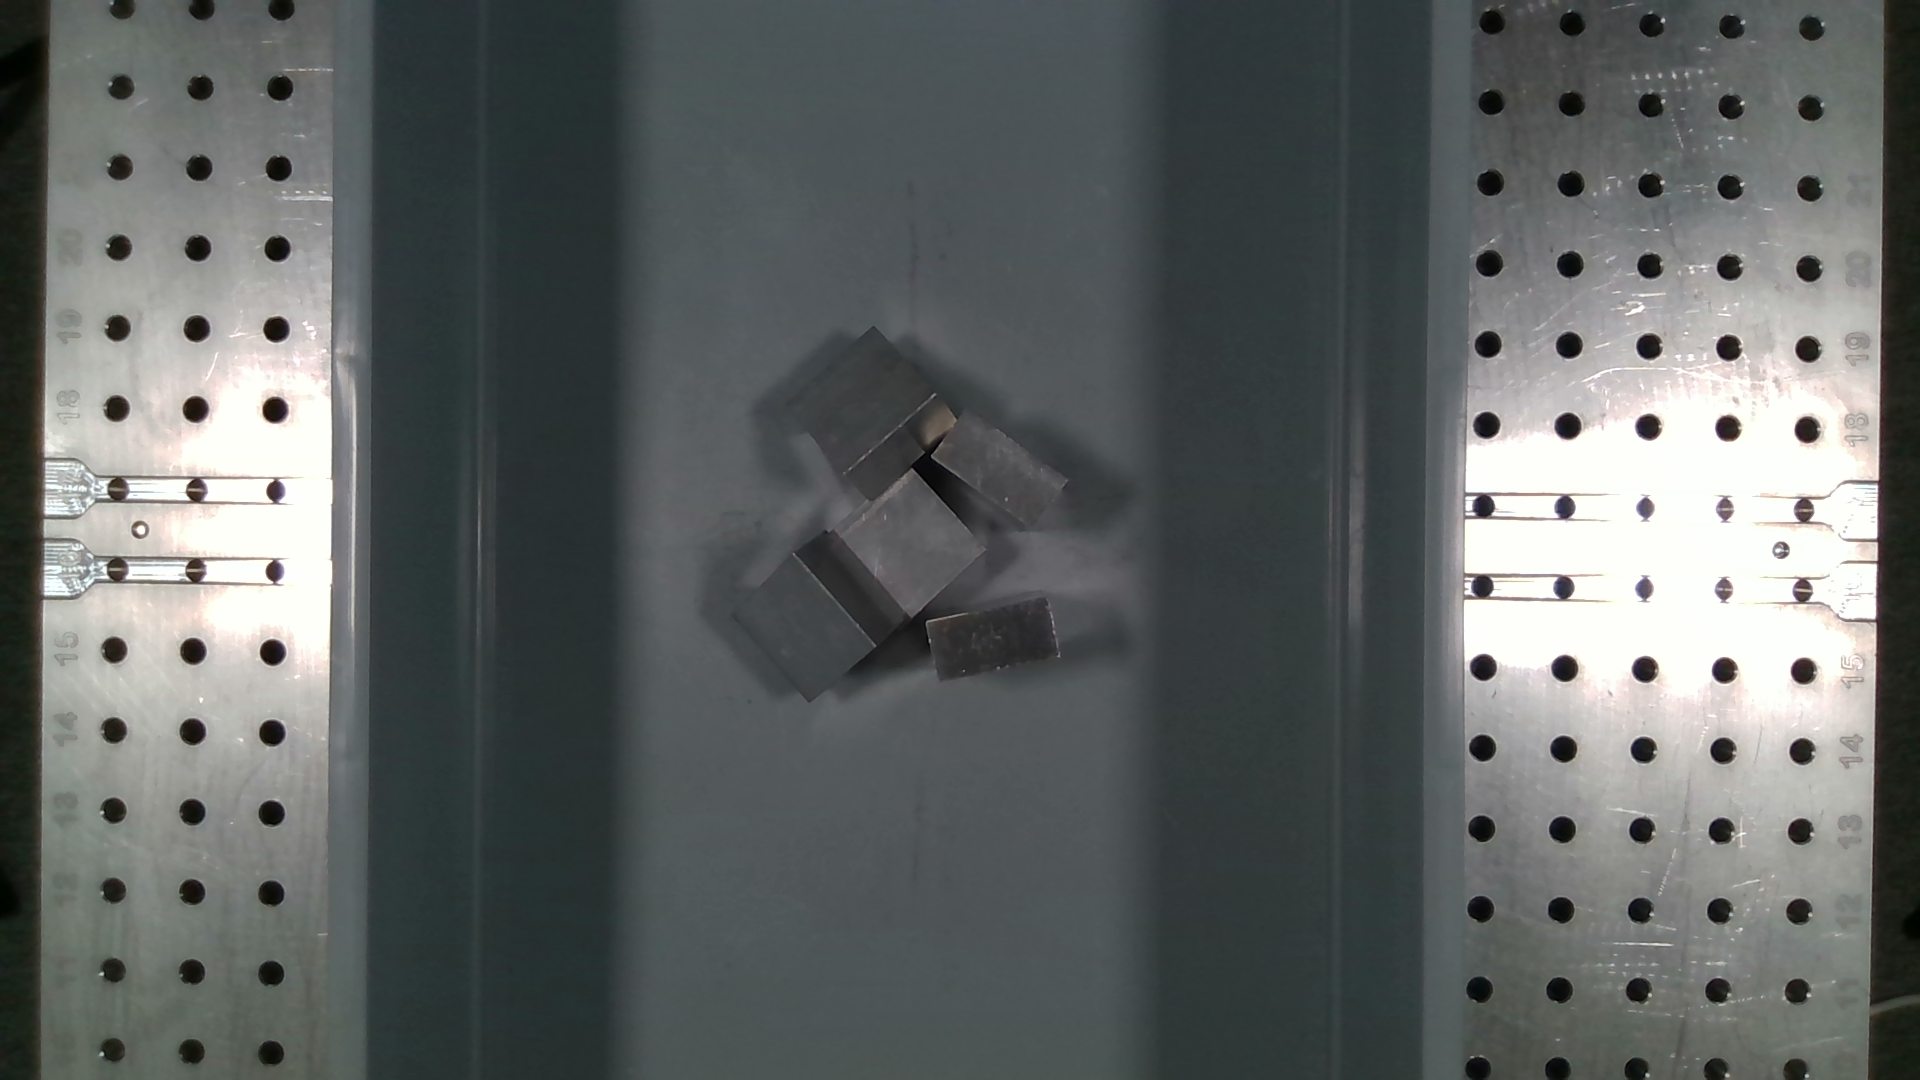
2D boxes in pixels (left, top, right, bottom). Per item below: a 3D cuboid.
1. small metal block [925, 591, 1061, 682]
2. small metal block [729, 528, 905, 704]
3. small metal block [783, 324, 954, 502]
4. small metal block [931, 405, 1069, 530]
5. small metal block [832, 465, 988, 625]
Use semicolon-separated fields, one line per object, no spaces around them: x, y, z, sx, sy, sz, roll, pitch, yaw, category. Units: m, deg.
0.013;0.039;0.573;0.050;0.050;0.025;-11;91;0;small metal block
-0.060;0.032;0.573;0.050;0.025;0.050;49;127;-1;small metal block
-0.037;-0.053;0.574;0.050;0.025;0.050;-41;57;0;small metal block
0.016;-0.029;0.572;0.050;0.050;0.025;36;90;0;small metal block
-0.024;0.002;0.585;0.050;0.025;0.050;-42;90;0;small metal block
